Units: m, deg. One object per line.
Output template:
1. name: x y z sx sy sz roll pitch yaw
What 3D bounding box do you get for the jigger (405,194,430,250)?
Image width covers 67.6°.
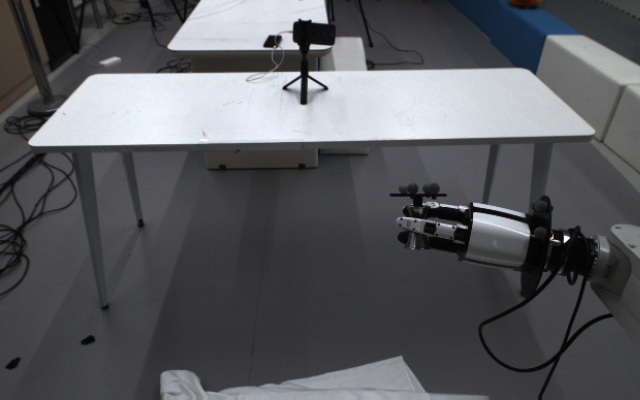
1. jigger: 0.157 0.041 0.777 0.043 0.071 0.043 -1 2 0
